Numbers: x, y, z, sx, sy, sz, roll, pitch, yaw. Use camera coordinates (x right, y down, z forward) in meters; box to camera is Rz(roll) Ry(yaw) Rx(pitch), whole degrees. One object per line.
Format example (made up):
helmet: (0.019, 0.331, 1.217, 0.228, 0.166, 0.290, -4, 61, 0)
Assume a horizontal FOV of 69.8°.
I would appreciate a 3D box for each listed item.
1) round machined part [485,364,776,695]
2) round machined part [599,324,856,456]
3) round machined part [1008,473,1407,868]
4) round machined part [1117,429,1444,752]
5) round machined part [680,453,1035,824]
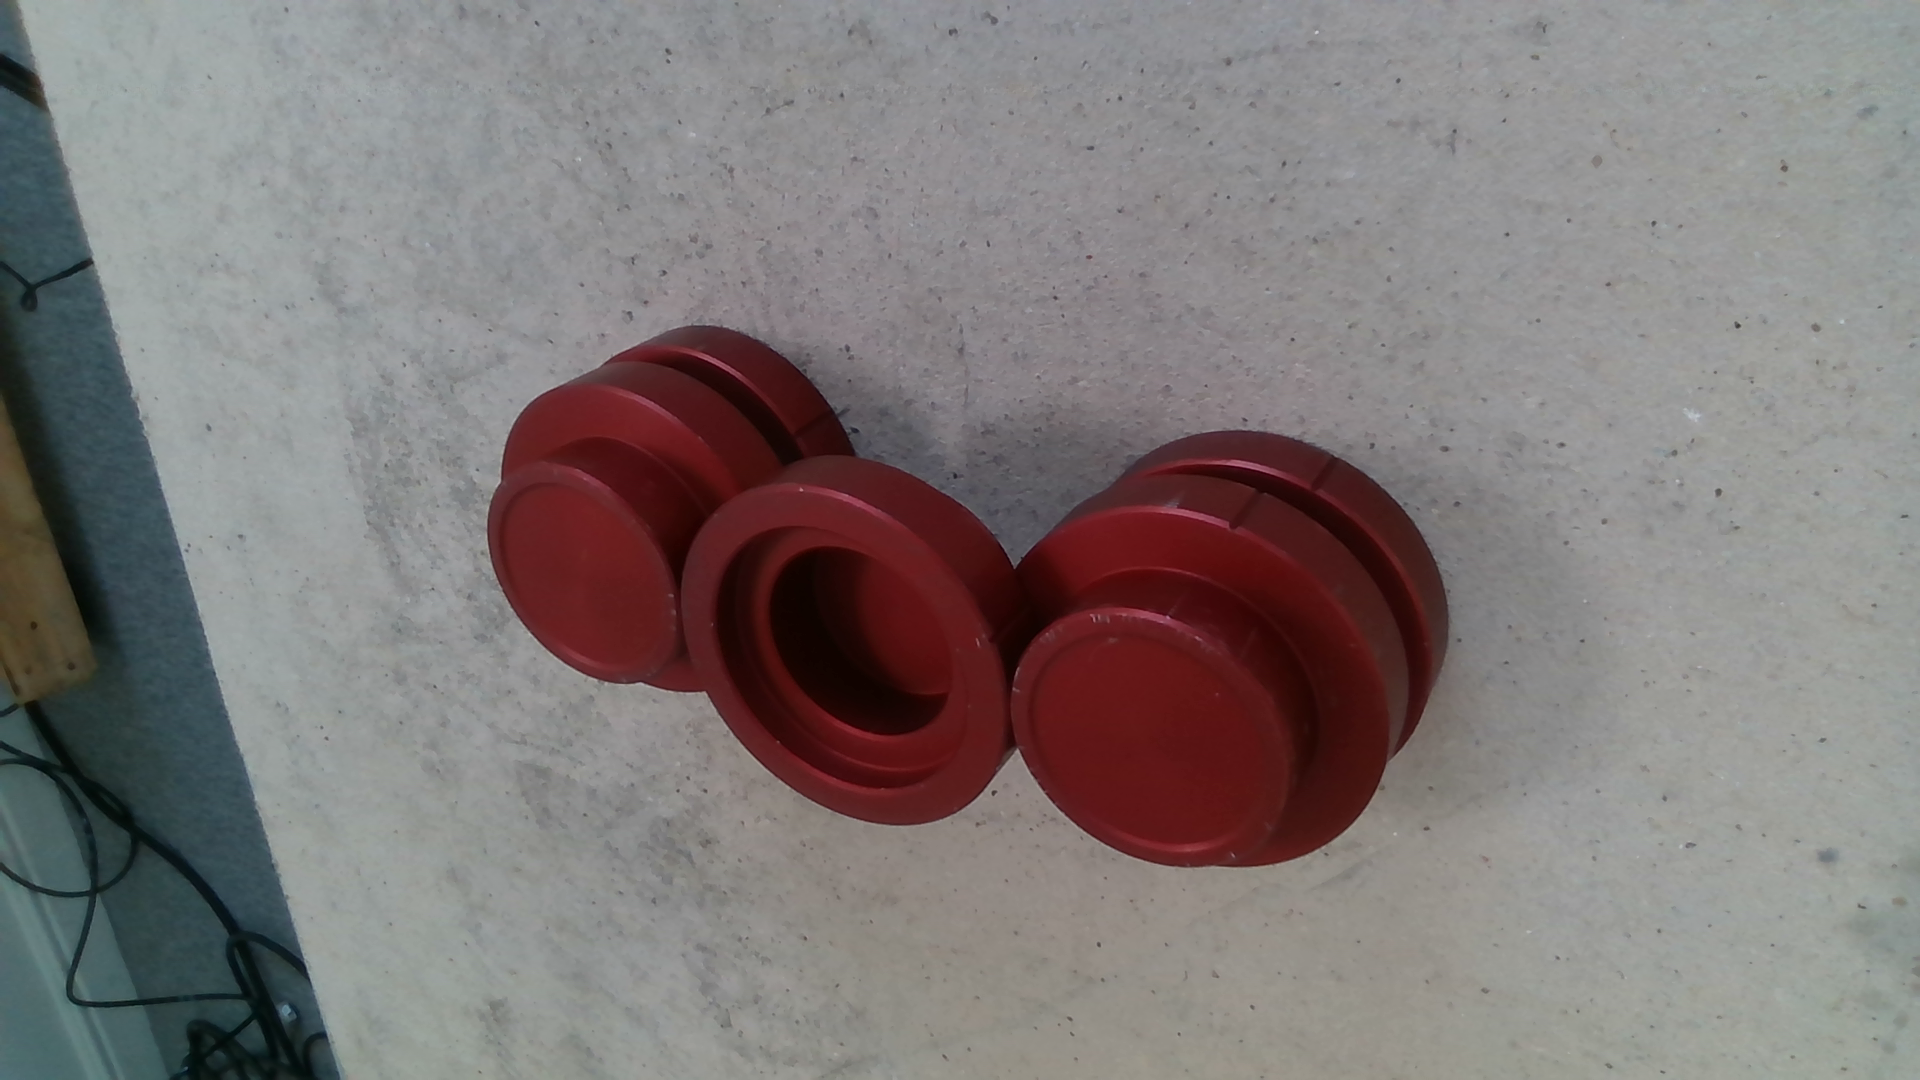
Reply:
round machined part: (-0.096, 0.002, 0.395, 0.098, 0.042, 0.098, 14, 121, 25)
round machined part: (-0.081, -0.013, 0.423, 0.098, 0.042, 0.098, 13, 121, 24)
round machined part: (0.051, 0.037, 0.325, 0.098, 0.042, 0.098, 14, 121, 25)
round machined part: (0.068, 0.025, 0.349, 0.098, 0.042, 0.098, 14, 120, 26)
round machined part: (-0.022, 0.022, 0.363, 0.098, 0.042, 0.098, 15, 122, 25)
